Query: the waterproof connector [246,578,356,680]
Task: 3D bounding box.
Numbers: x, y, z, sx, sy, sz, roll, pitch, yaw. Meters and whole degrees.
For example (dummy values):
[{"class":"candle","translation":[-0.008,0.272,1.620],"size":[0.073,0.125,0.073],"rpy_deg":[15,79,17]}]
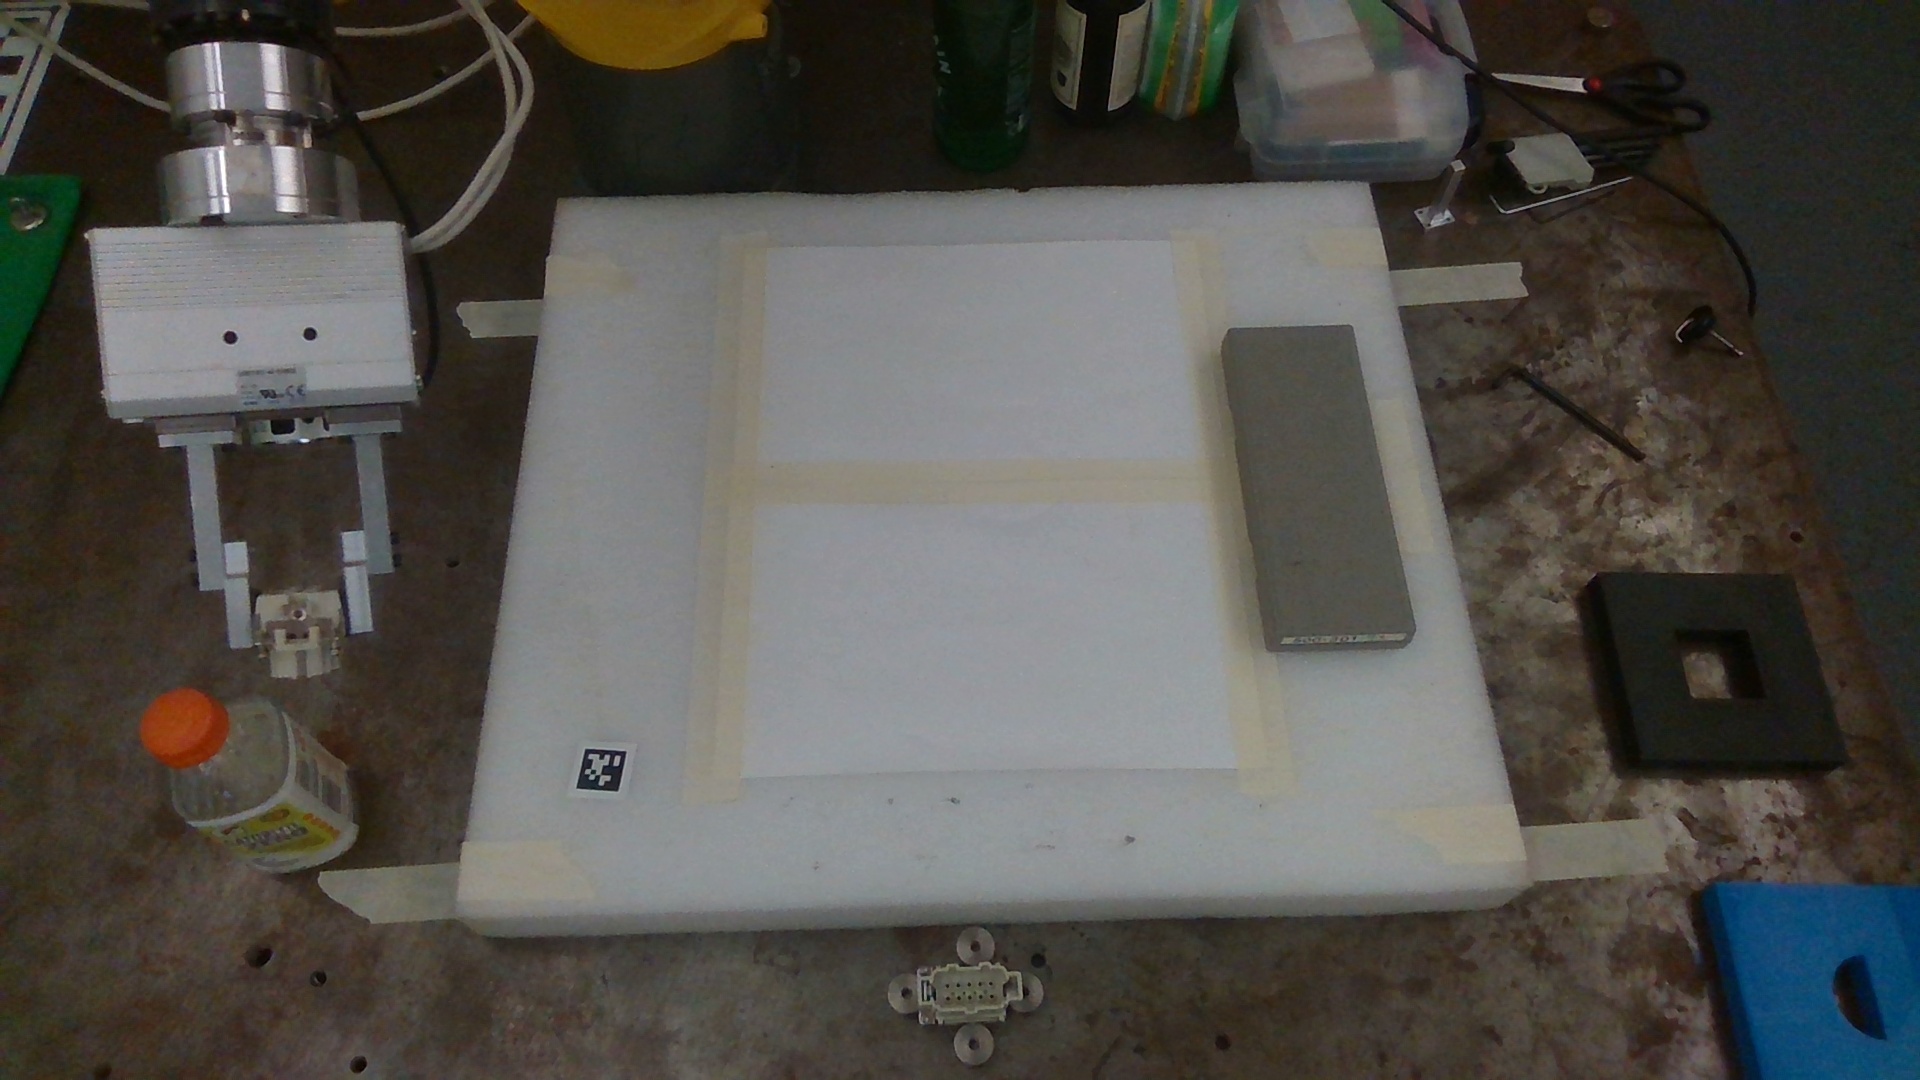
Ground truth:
[{"class":"waterproof connector","translation":[-0.293,0.039,0.619],"size":[0.036,0.069,0.038],"rpy_deg":[-6,96,-16]}]
